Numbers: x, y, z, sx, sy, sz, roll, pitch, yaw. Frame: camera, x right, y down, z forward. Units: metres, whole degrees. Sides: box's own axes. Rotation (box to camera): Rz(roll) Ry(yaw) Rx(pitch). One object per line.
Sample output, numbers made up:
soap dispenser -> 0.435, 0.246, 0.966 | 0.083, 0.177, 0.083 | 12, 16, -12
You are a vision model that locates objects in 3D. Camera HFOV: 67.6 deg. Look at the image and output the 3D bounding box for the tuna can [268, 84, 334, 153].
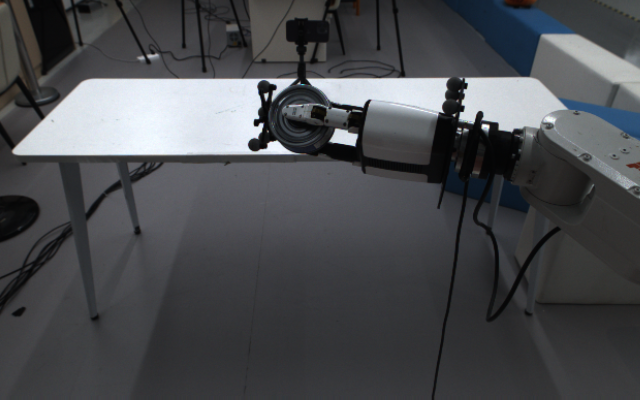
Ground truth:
tuna can -> -0.023, -0.107, 0.631 | 0.085, 0.085, 0.034 | 10, -6, 11
